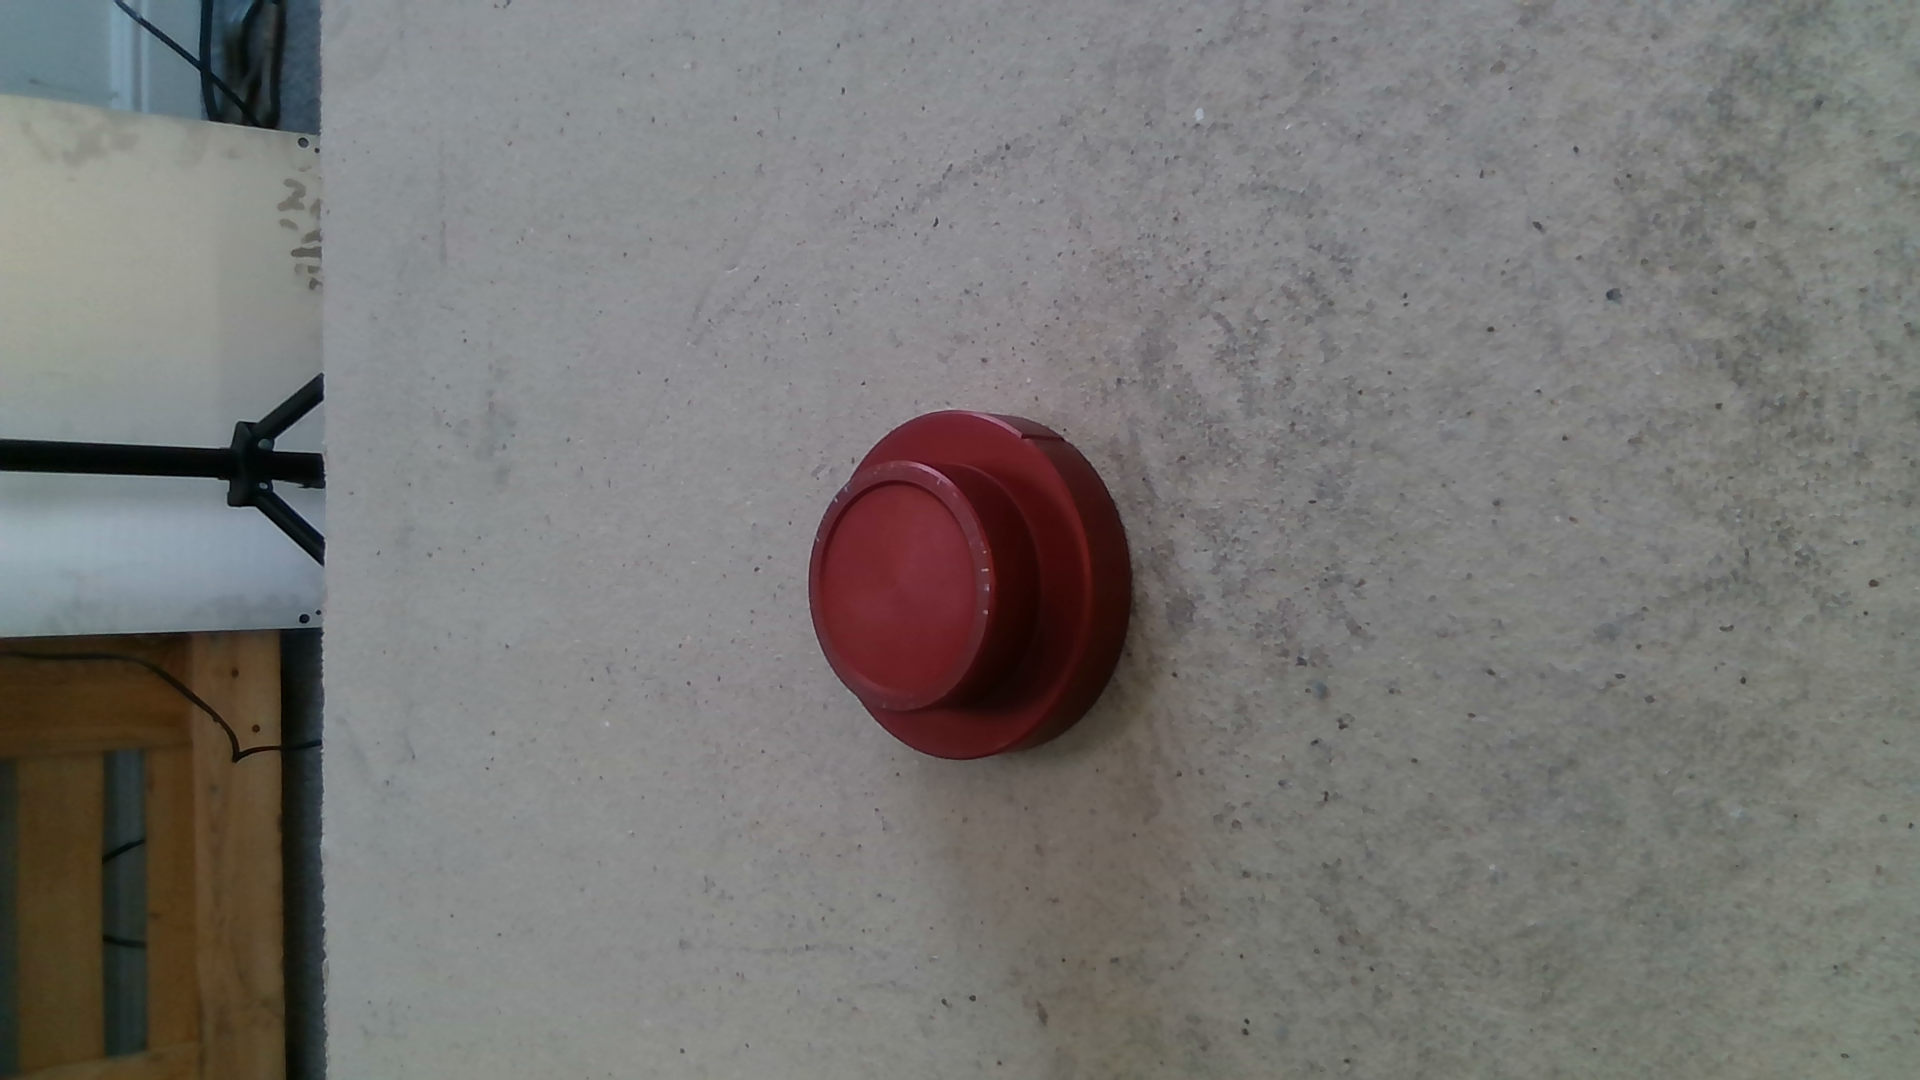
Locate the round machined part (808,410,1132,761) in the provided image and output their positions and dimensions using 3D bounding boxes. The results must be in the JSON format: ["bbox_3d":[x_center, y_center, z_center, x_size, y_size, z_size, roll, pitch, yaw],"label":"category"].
[{"bbox_3d":[-0.004,0.013,0.384,0.098,0.042,0.098,0,91,40],"label":"round machined part"}]
